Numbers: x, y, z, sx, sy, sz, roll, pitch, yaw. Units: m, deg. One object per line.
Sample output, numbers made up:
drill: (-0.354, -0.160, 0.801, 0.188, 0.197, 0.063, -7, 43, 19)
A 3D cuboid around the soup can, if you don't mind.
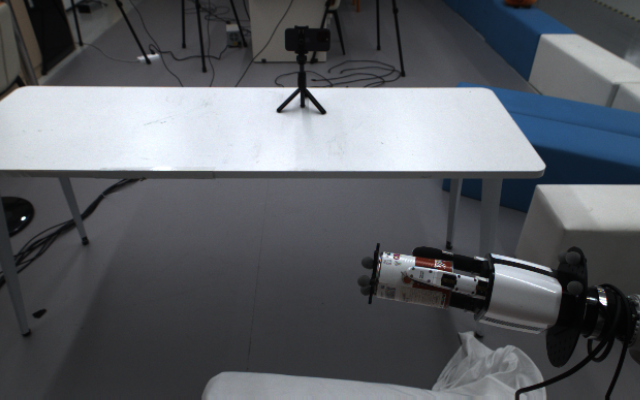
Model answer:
soup can: (0.135, 0.111, 0.682, 0.101, 0.067, 0.067, 7, 35, 10)
